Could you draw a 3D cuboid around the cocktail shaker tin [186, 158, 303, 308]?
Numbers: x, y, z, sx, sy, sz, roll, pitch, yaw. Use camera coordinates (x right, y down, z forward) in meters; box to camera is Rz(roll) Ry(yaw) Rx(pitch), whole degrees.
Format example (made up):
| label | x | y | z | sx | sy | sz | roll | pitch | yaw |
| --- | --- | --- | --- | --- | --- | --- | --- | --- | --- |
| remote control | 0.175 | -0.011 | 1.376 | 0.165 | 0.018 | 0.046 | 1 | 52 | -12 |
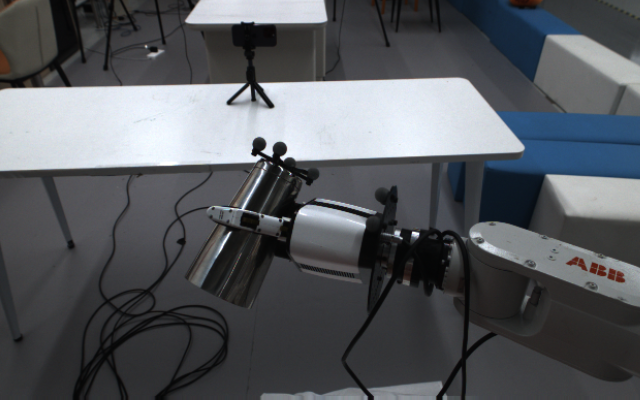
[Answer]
| label | x | y | z | sx | sy | sz | roll | pitch | yaw |
| --- | --- | --- | --- | --- | --- | --- | --- | --- | --- |
| cocktail shaker tin | -0.087 | 0.037 | 0.610 | 0.093 | 0.093 | 0.170 | 21 | 81 | 25 |
